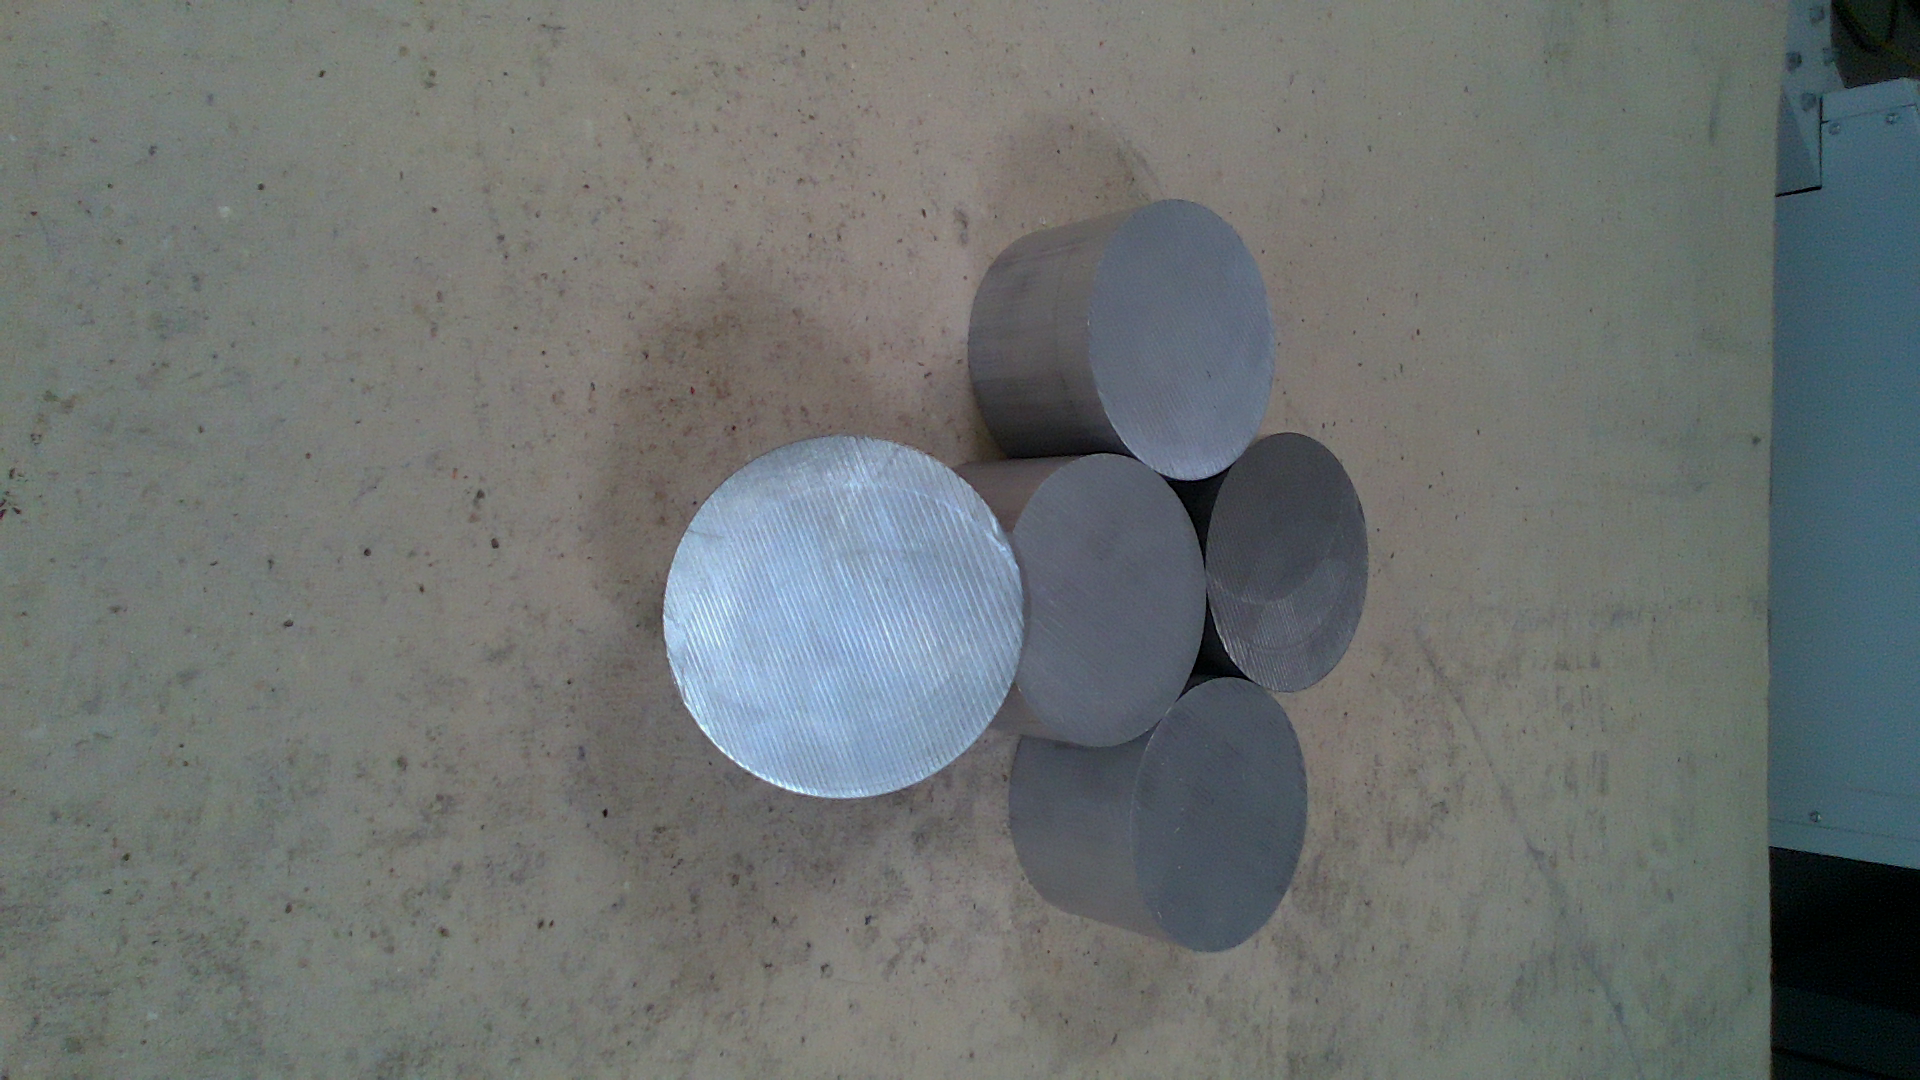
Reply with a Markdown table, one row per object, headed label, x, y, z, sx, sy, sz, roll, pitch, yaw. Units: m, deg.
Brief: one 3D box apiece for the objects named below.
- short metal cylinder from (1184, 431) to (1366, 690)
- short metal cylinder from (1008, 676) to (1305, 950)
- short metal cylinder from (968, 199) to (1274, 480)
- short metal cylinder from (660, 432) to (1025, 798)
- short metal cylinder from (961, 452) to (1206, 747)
| label | x | y | z | sx | sy | sz | roll | pitch | yaw |
| --- | --- | --- | --- | --- | --- | --- | --- | --- | --- |
| short metal cylinder | 0.086 | 0.006 | 0.445 | 0.080 | 0.050 | 0.080 | 0 | 90 | -40 |
| short metal cylinder | 0.061 | 0.080 | 0.424 | 0.080 | 0.050 | 0.080 | 0 | 90 | -40 |
| short metal cylinder | 0.049 | -0.057 | 0.413 | 0.080 | 0.050 | 0.080 | 0 | 90 | -40 |
| short metal cylinder | -0.024 | 0.017 | 0.326 | 0.080 | 0.050 | 0.080 | 0 | 89 | 4 |
| short metal cylinder | 0.025 | 0.016 | 0.393 | 0.080 | 0.050 | 0.080 | 0 | 90 | -40 |
